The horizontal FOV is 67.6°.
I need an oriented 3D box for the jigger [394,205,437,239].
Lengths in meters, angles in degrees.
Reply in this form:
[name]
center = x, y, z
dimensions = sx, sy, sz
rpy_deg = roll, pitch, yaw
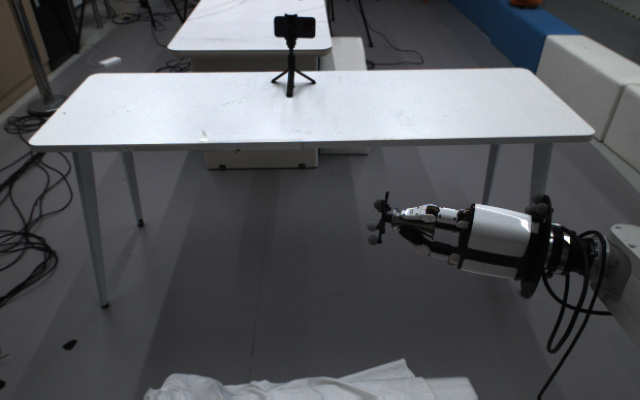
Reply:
[jigger]
center = 0.159, 0.032, 0.783
dimensions = 0.071, 0.043, 0.043
rpy_deg = 10, 35, 15
